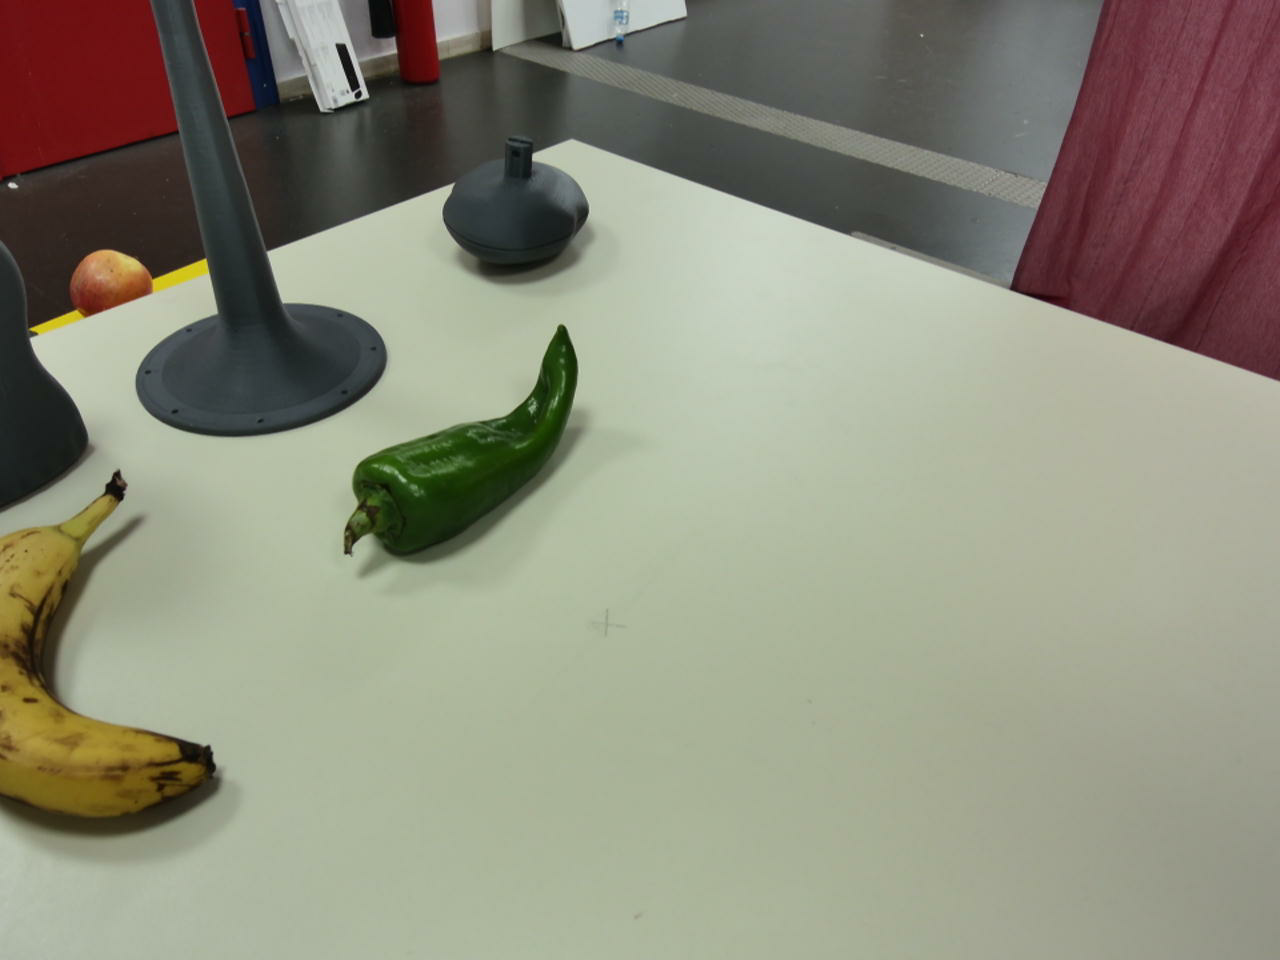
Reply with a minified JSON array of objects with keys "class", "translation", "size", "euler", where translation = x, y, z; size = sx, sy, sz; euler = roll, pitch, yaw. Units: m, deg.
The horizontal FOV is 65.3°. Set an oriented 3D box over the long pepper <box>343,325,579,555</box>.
[{"class":"long pepper","translation":[-0.086,-0.019,0.518],"size":[0.058,0.065,0.175],"euler":[26,44,29]}]
